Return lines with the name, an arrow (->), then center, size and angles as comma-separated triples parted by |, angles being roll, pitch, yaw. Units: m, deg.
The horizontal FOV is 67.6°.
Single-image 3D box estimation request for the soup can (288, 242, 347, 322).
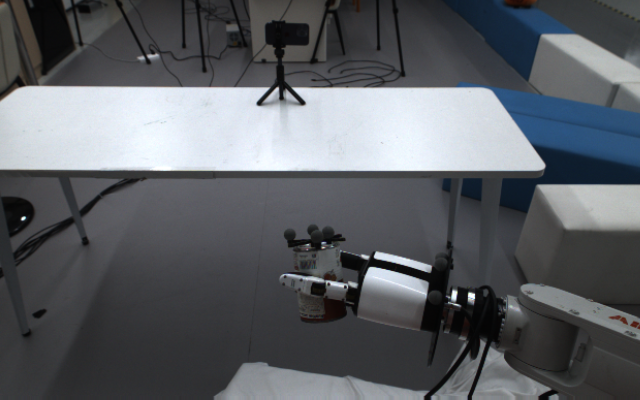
soup can -> 0.002, 0.112, 0.673 | 0.067, 0.101, 0.067 | -7, 3, 0
